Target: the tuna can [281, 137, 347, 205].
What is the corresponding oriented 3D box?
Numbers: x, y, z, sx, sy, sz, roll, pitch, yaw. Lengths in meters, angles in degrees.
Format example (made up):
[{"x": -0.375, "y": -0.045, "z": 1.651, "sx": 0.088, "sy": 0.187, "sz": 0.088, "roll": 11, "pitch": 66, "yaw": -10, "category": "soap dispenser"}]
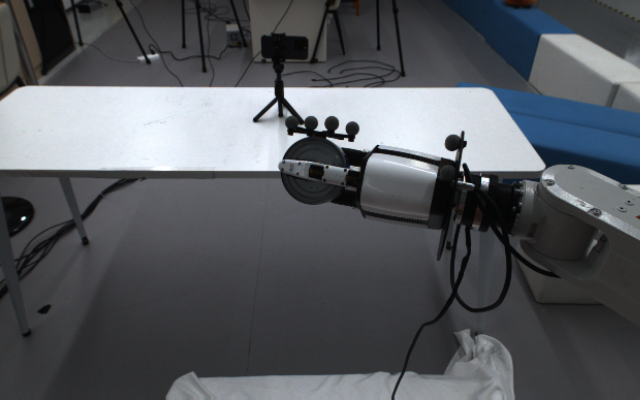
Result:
[{"x": -0.005, "y": -0.038, "z": 0.619, "sx": 0.085, "sy": 0.085, "sz": 0.034, "roll": 11, "pitch": 2, "yaw": 13, "category": "tuna can"}]
